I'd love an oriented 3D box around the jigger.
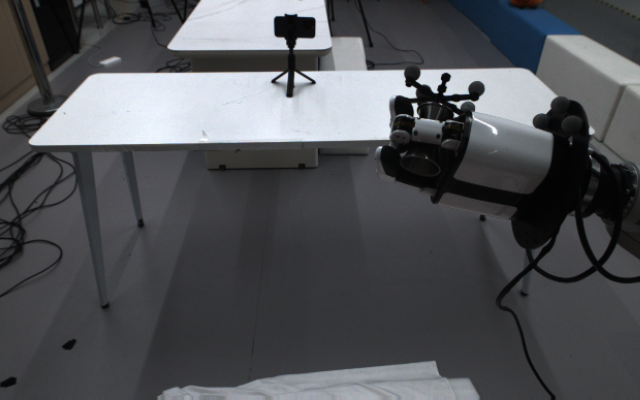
[{"bbox_3d":[0.118,-0.065,0.520,0.043,0.043,0.071,13,72,15],"label":"jigger"}]
